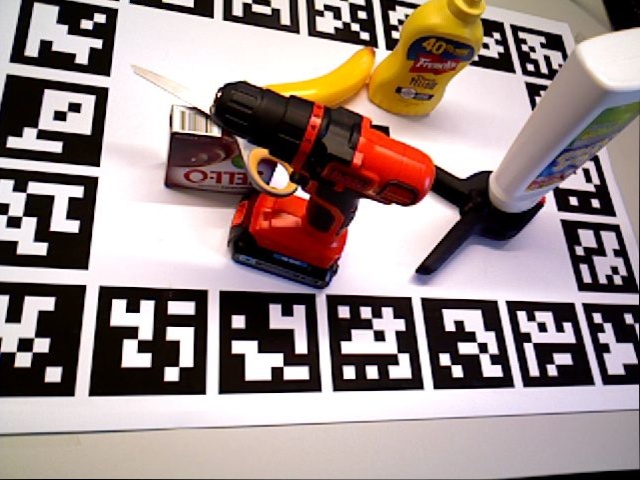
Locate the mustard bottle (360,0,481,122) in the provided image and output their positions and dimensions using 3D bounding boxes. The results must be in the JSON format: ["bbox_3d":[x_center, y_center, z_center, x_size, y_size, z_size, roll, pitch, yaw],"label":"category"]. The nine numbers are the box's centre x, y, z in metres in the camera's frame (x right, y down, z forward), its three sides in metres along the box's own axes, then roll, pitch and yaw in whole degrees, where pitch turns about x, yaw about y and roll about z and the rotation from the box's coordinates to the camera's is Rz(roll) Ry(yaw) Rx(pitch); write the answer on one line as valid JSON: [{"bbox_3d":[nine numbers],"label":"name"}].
[{"bbox_3d":[0.125,-0.219,0.627,0.095,0.196,0.057,18,61,-12],"label":"mustard bottle"}]

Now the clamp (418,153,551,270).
[{"bbox_3d":[0.186,-0.048,0.641,0.200,0.037,0.164,-2,70,-21],"label":"clamp"}]

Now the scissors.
[{"bbox_3d":[-0.097,-0.126,0.489,0.202,0.016,0.086,29,65,-10],"label":"scissors"}]

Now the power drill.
[{"bbox_3d":[-0.023,-0.043,0.463,0.183,0.191,0.056,15,55,-9],"label":"power drill"}]

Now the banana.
[{"bbox_3d":[0.001,-0.213,0.659,0.074,0.040,0.193,40,60,21],"label":"banana"}]

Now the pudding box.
[{"bbox_3d":[-0.108,-0.092,0.545,0.112,0.092,0.038,8,57,-16],"label":"pudding box"}]

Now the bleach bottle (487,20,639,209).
[{"bbox_3d":[0.251,-0.104,0.565,0.101,0.256,0.067,-17,69,-18],"label":"bleach bottle"}]
